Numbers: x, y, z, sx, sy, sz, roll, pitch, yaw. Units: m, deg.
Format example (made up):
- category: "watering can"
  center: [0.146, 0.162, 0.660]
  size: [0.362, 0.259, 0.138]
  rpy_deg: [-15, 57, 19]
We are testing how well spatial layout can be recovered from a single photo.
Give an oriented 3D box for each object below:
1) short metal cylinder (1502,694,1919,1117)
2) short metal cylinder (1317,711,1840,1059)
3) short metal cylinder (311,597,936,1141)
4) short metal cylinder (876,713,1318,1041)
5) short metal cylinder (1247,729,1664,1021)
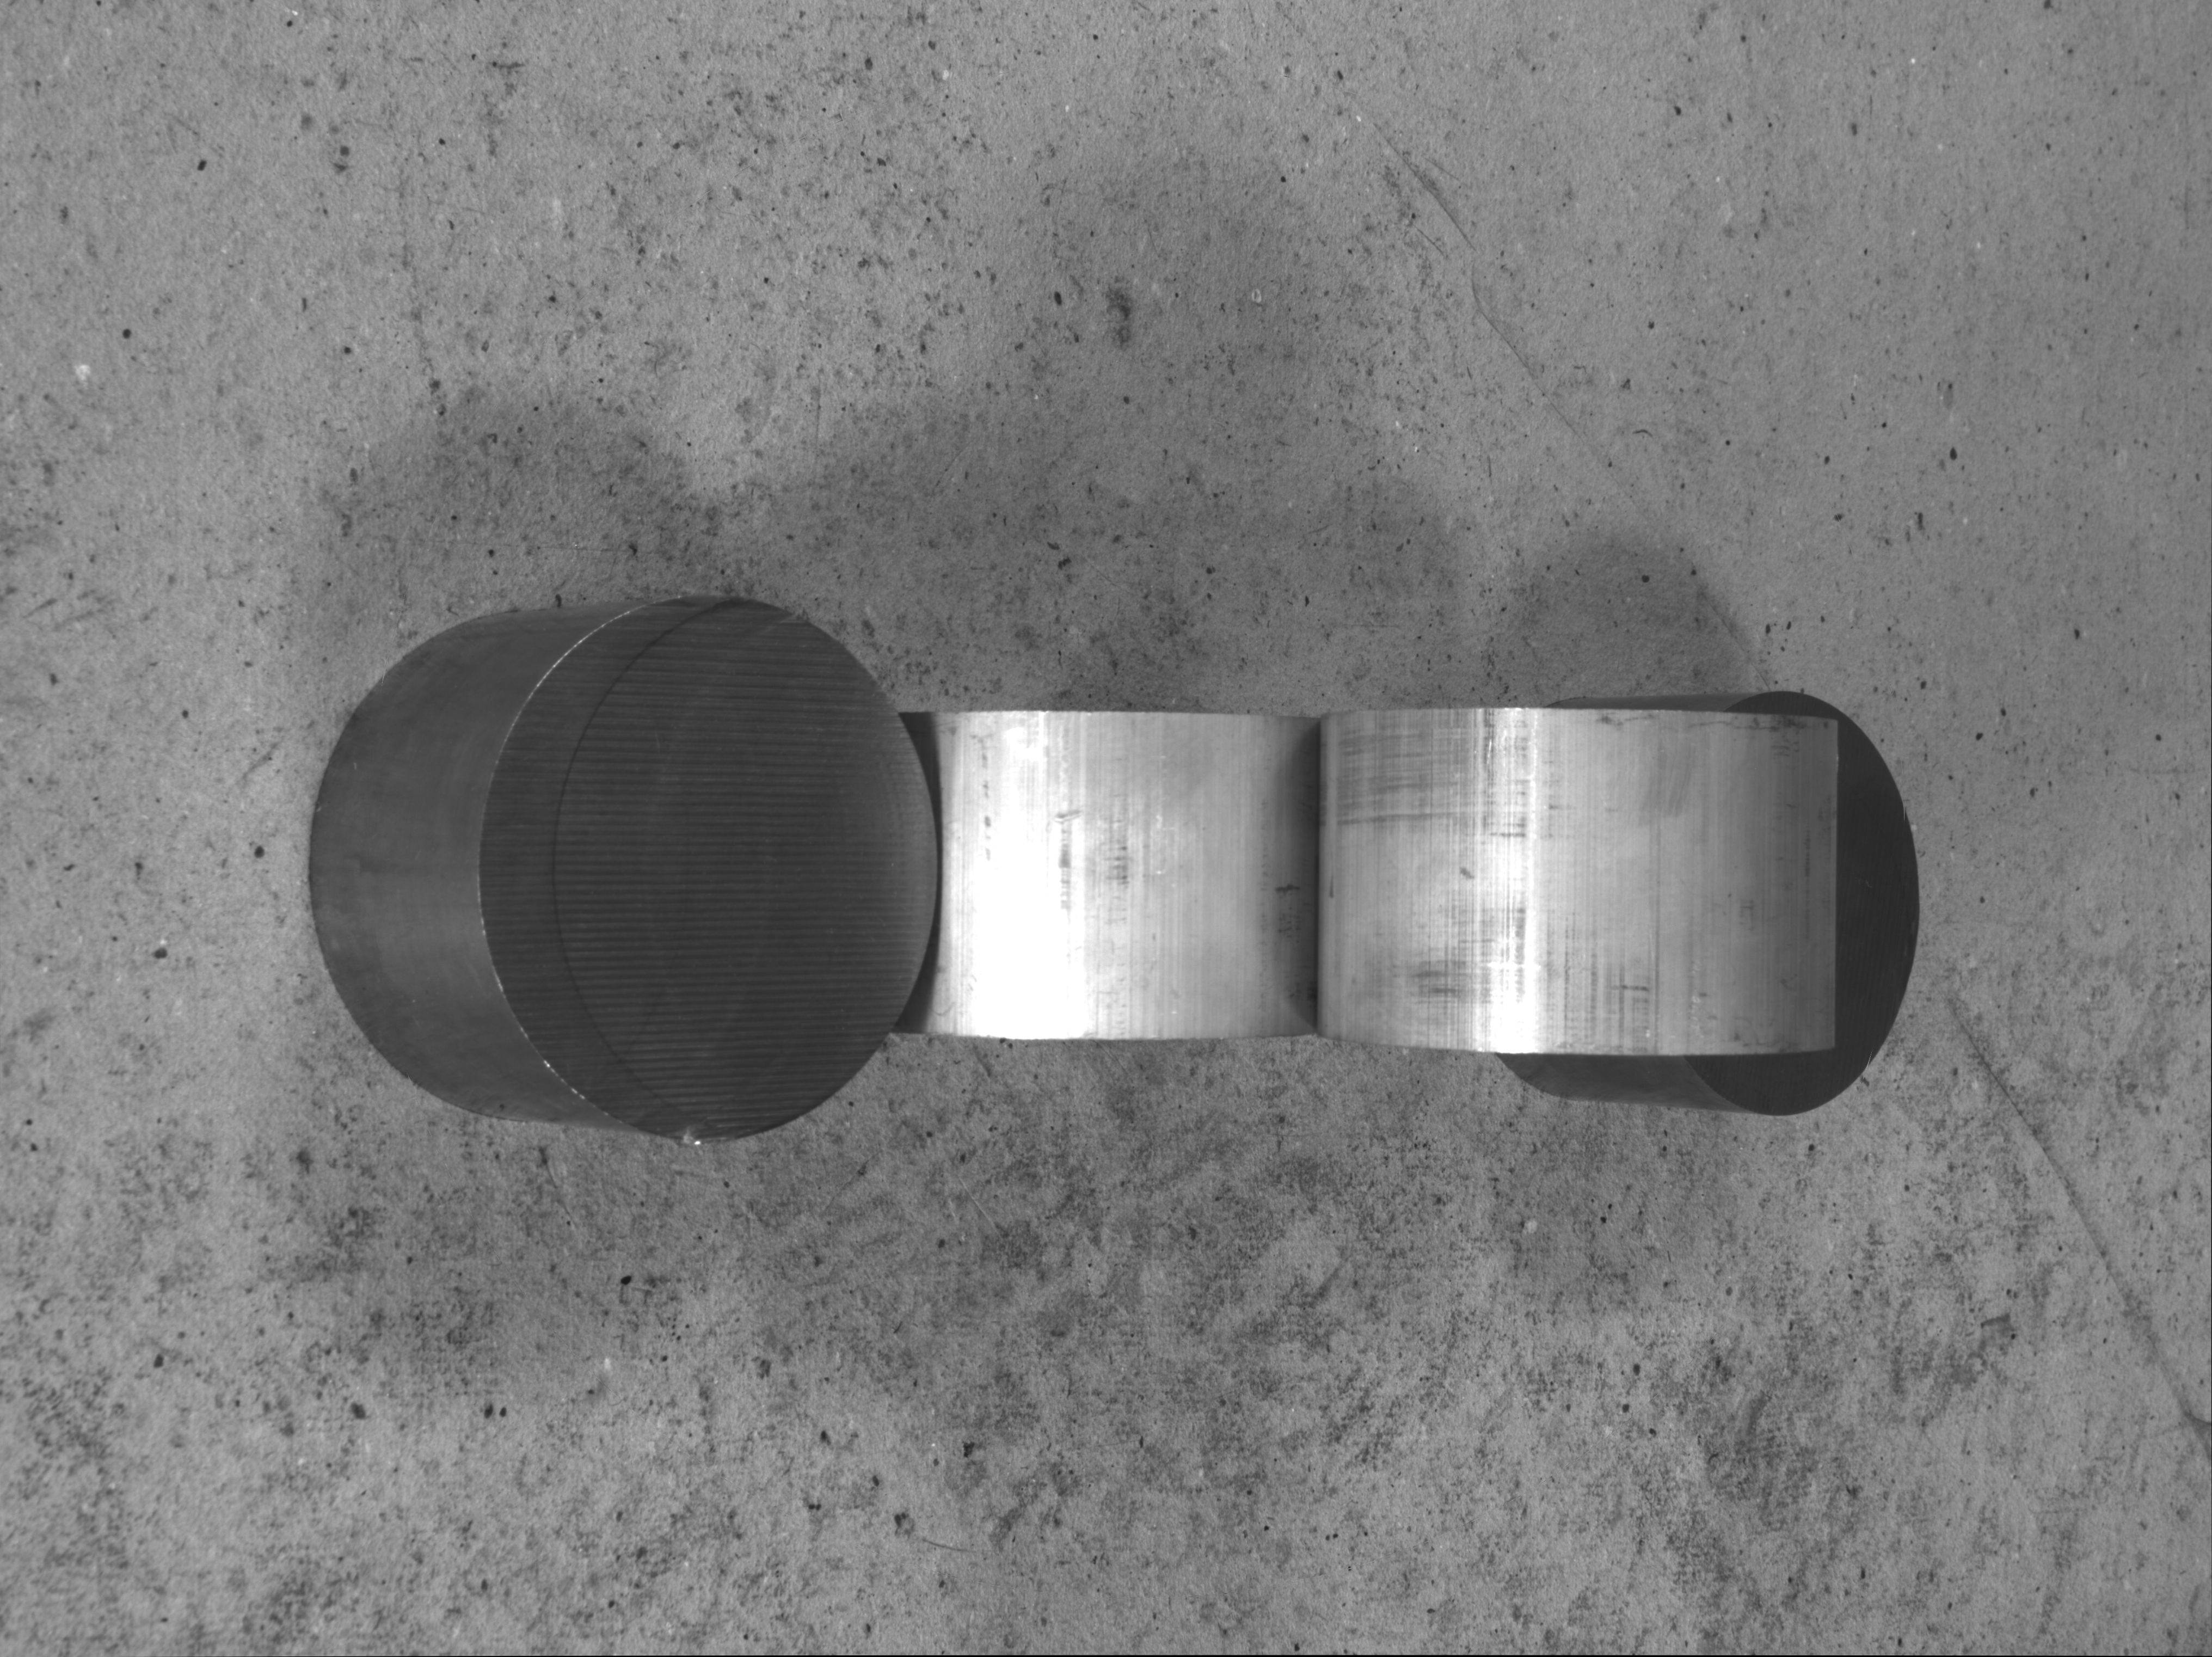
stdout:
- category: "short metal cylinder"
  center: [0.113, 0.014, 0.713]
  size: [0.080, 0.050, 0.080]
  rpy_deg: [0, 90, -40]
- category: "short metal cylinder"
  center: [0.073, 0.008, 0.571]
  size: [0.080, 0.080, 0.050]
  rpy_deg: [1, 90, -40]
- category: "short metal cylinder"
  center: [-0.073, 0.006, 0.559]
  size: [0.080, 0.050, 0.080]
  rpy_deg: [0, 90, -40]
- category: "short metal cylinder"
  center: [-0.002, 0.008, 0.599]
  size: [0.080, 0.080, 0.050]
  rpy_deg: [0, 90, -40]
- category: "short metal cylinder"
  center: [0.060, 0.009, 0.650]
  size: [0.080, 0.080, 0.050]
  rpy_deg: [0, 89, -40]
